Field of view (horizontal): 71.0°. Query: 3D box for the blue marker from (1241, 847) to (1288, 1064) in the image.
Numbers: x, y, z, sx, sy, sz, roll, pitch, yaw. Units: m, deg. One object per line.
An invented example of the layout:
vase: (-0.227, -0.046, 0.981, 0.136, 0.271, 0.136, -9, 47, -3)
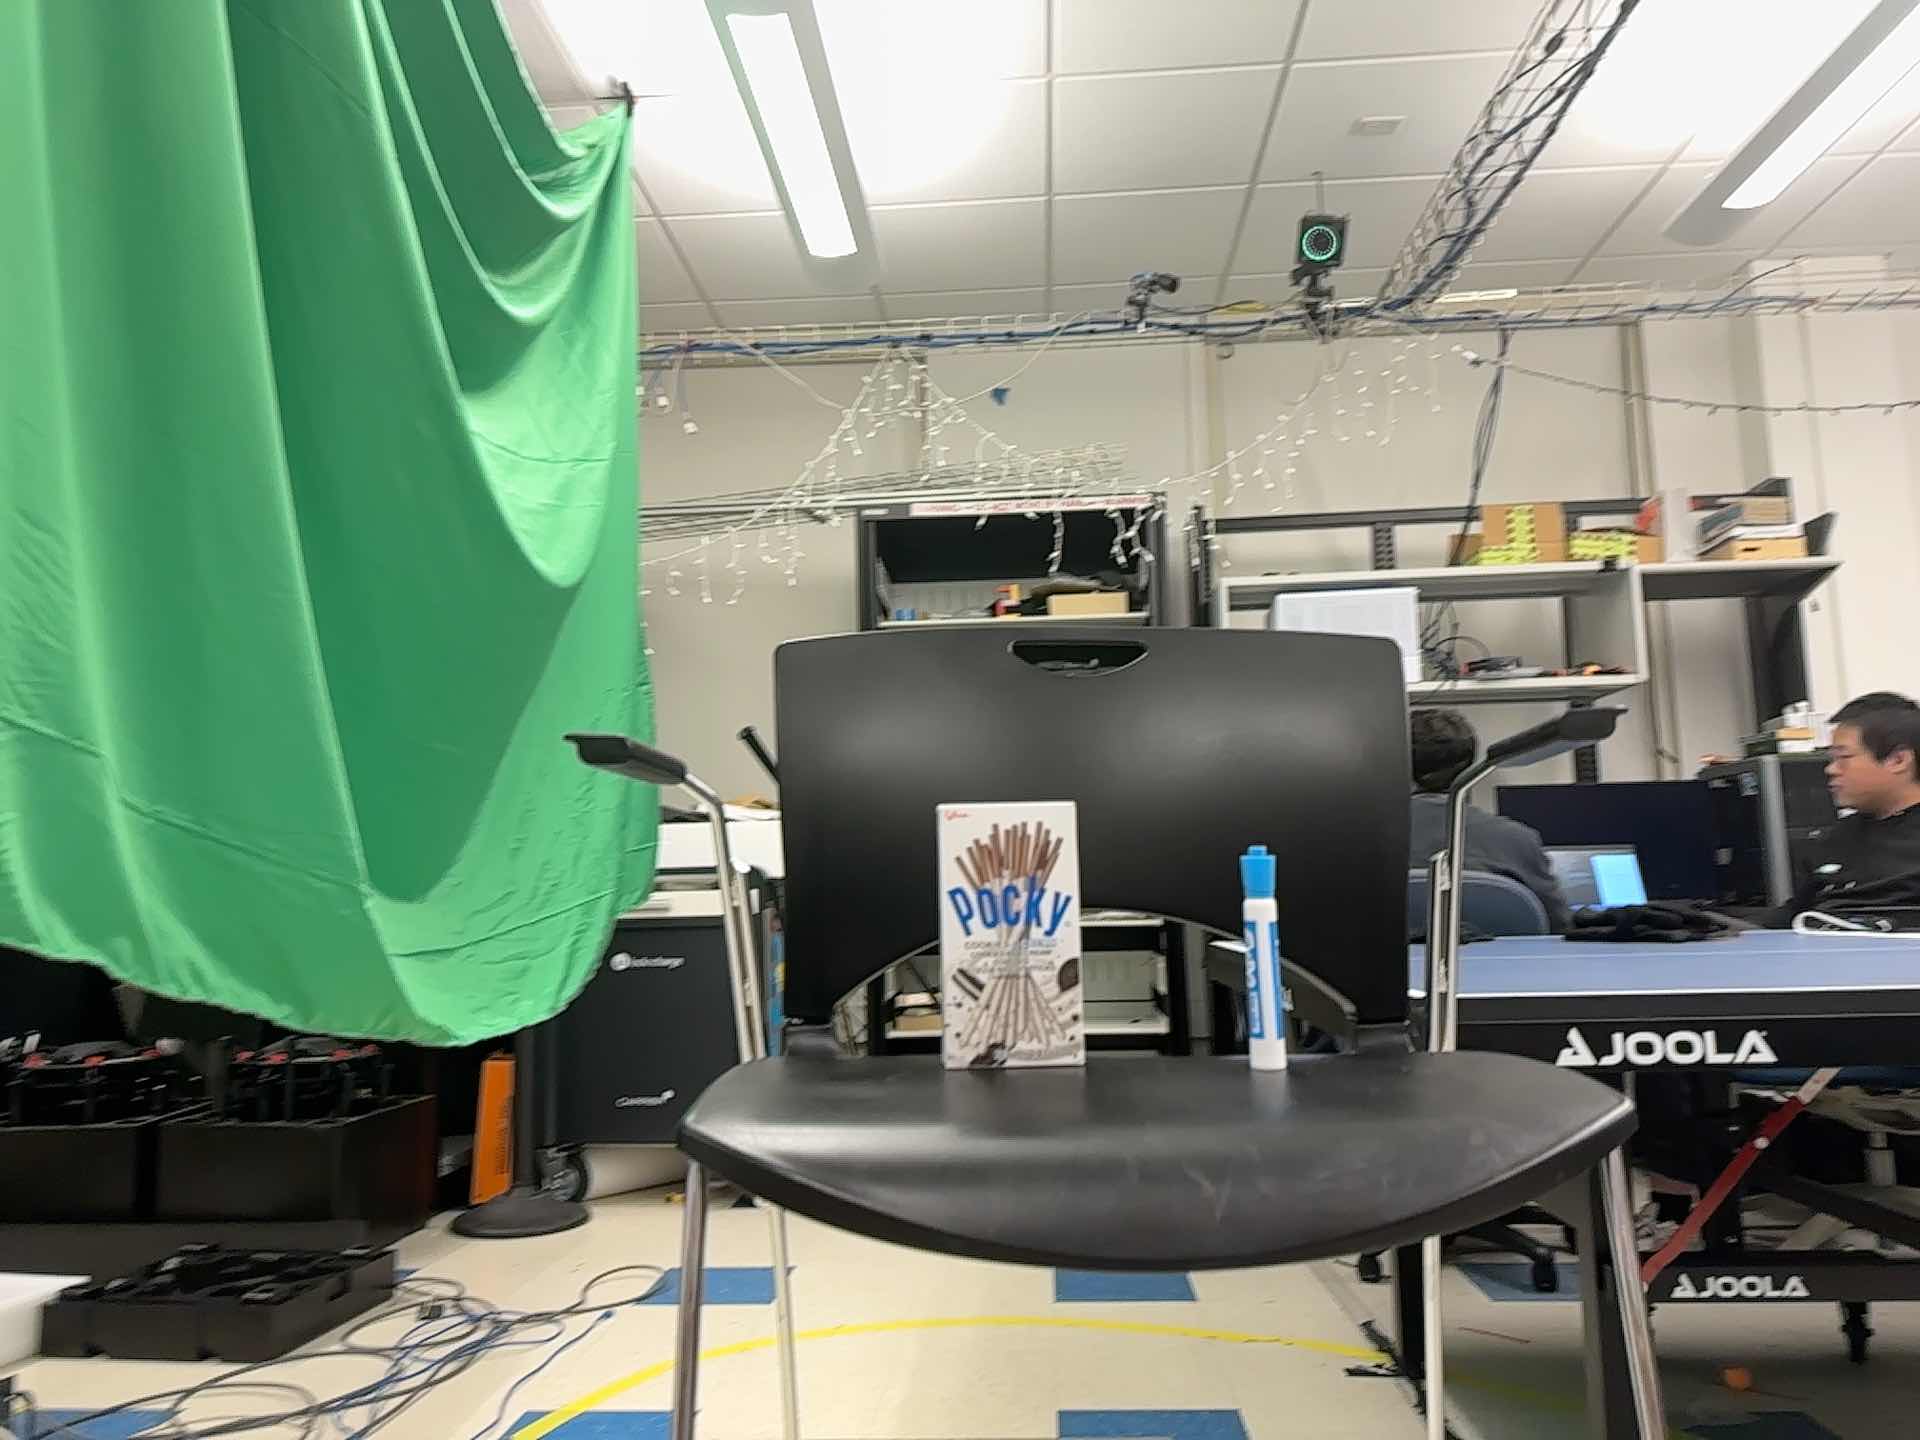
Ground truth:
blue marker: (0.173, 0.133, 0.766, 0.020, 0.121, 0.020, -3, -3, 0)

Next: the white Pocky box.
white Pocky box: (0.029, 0.124, 0.788, 0.084, 0.154, 0.028, -1, -4, -2)
